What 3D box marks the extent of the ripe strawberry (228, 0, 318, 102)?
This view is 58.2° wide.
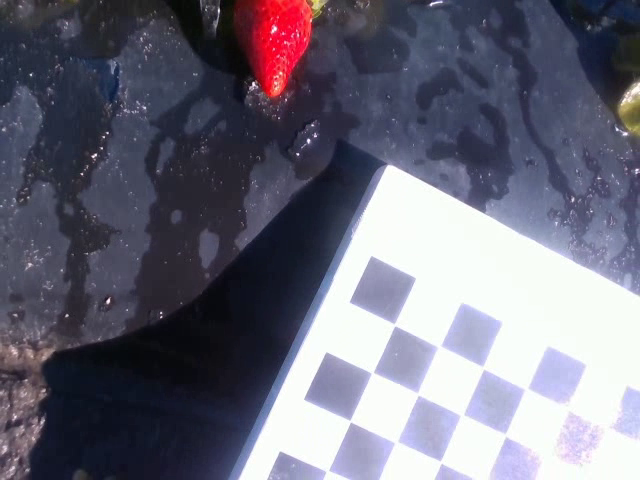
[{"bbox_3d":[-0.018,-0.088,0.245,0.042,0.052,0.040,9,-9,-11],"label":"ripe strawberry"}]
